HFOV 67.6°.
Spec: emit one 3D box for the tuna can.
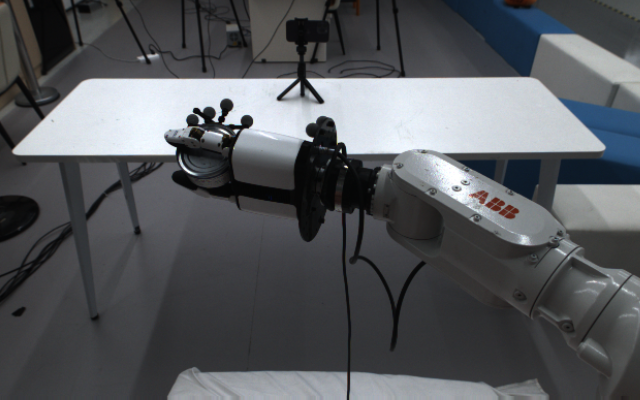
[{"bbox_3d":[-0.147,-0.060,0.654,0.085,0.034,0.085,-3,62,5],"label":"tuna can"}]
